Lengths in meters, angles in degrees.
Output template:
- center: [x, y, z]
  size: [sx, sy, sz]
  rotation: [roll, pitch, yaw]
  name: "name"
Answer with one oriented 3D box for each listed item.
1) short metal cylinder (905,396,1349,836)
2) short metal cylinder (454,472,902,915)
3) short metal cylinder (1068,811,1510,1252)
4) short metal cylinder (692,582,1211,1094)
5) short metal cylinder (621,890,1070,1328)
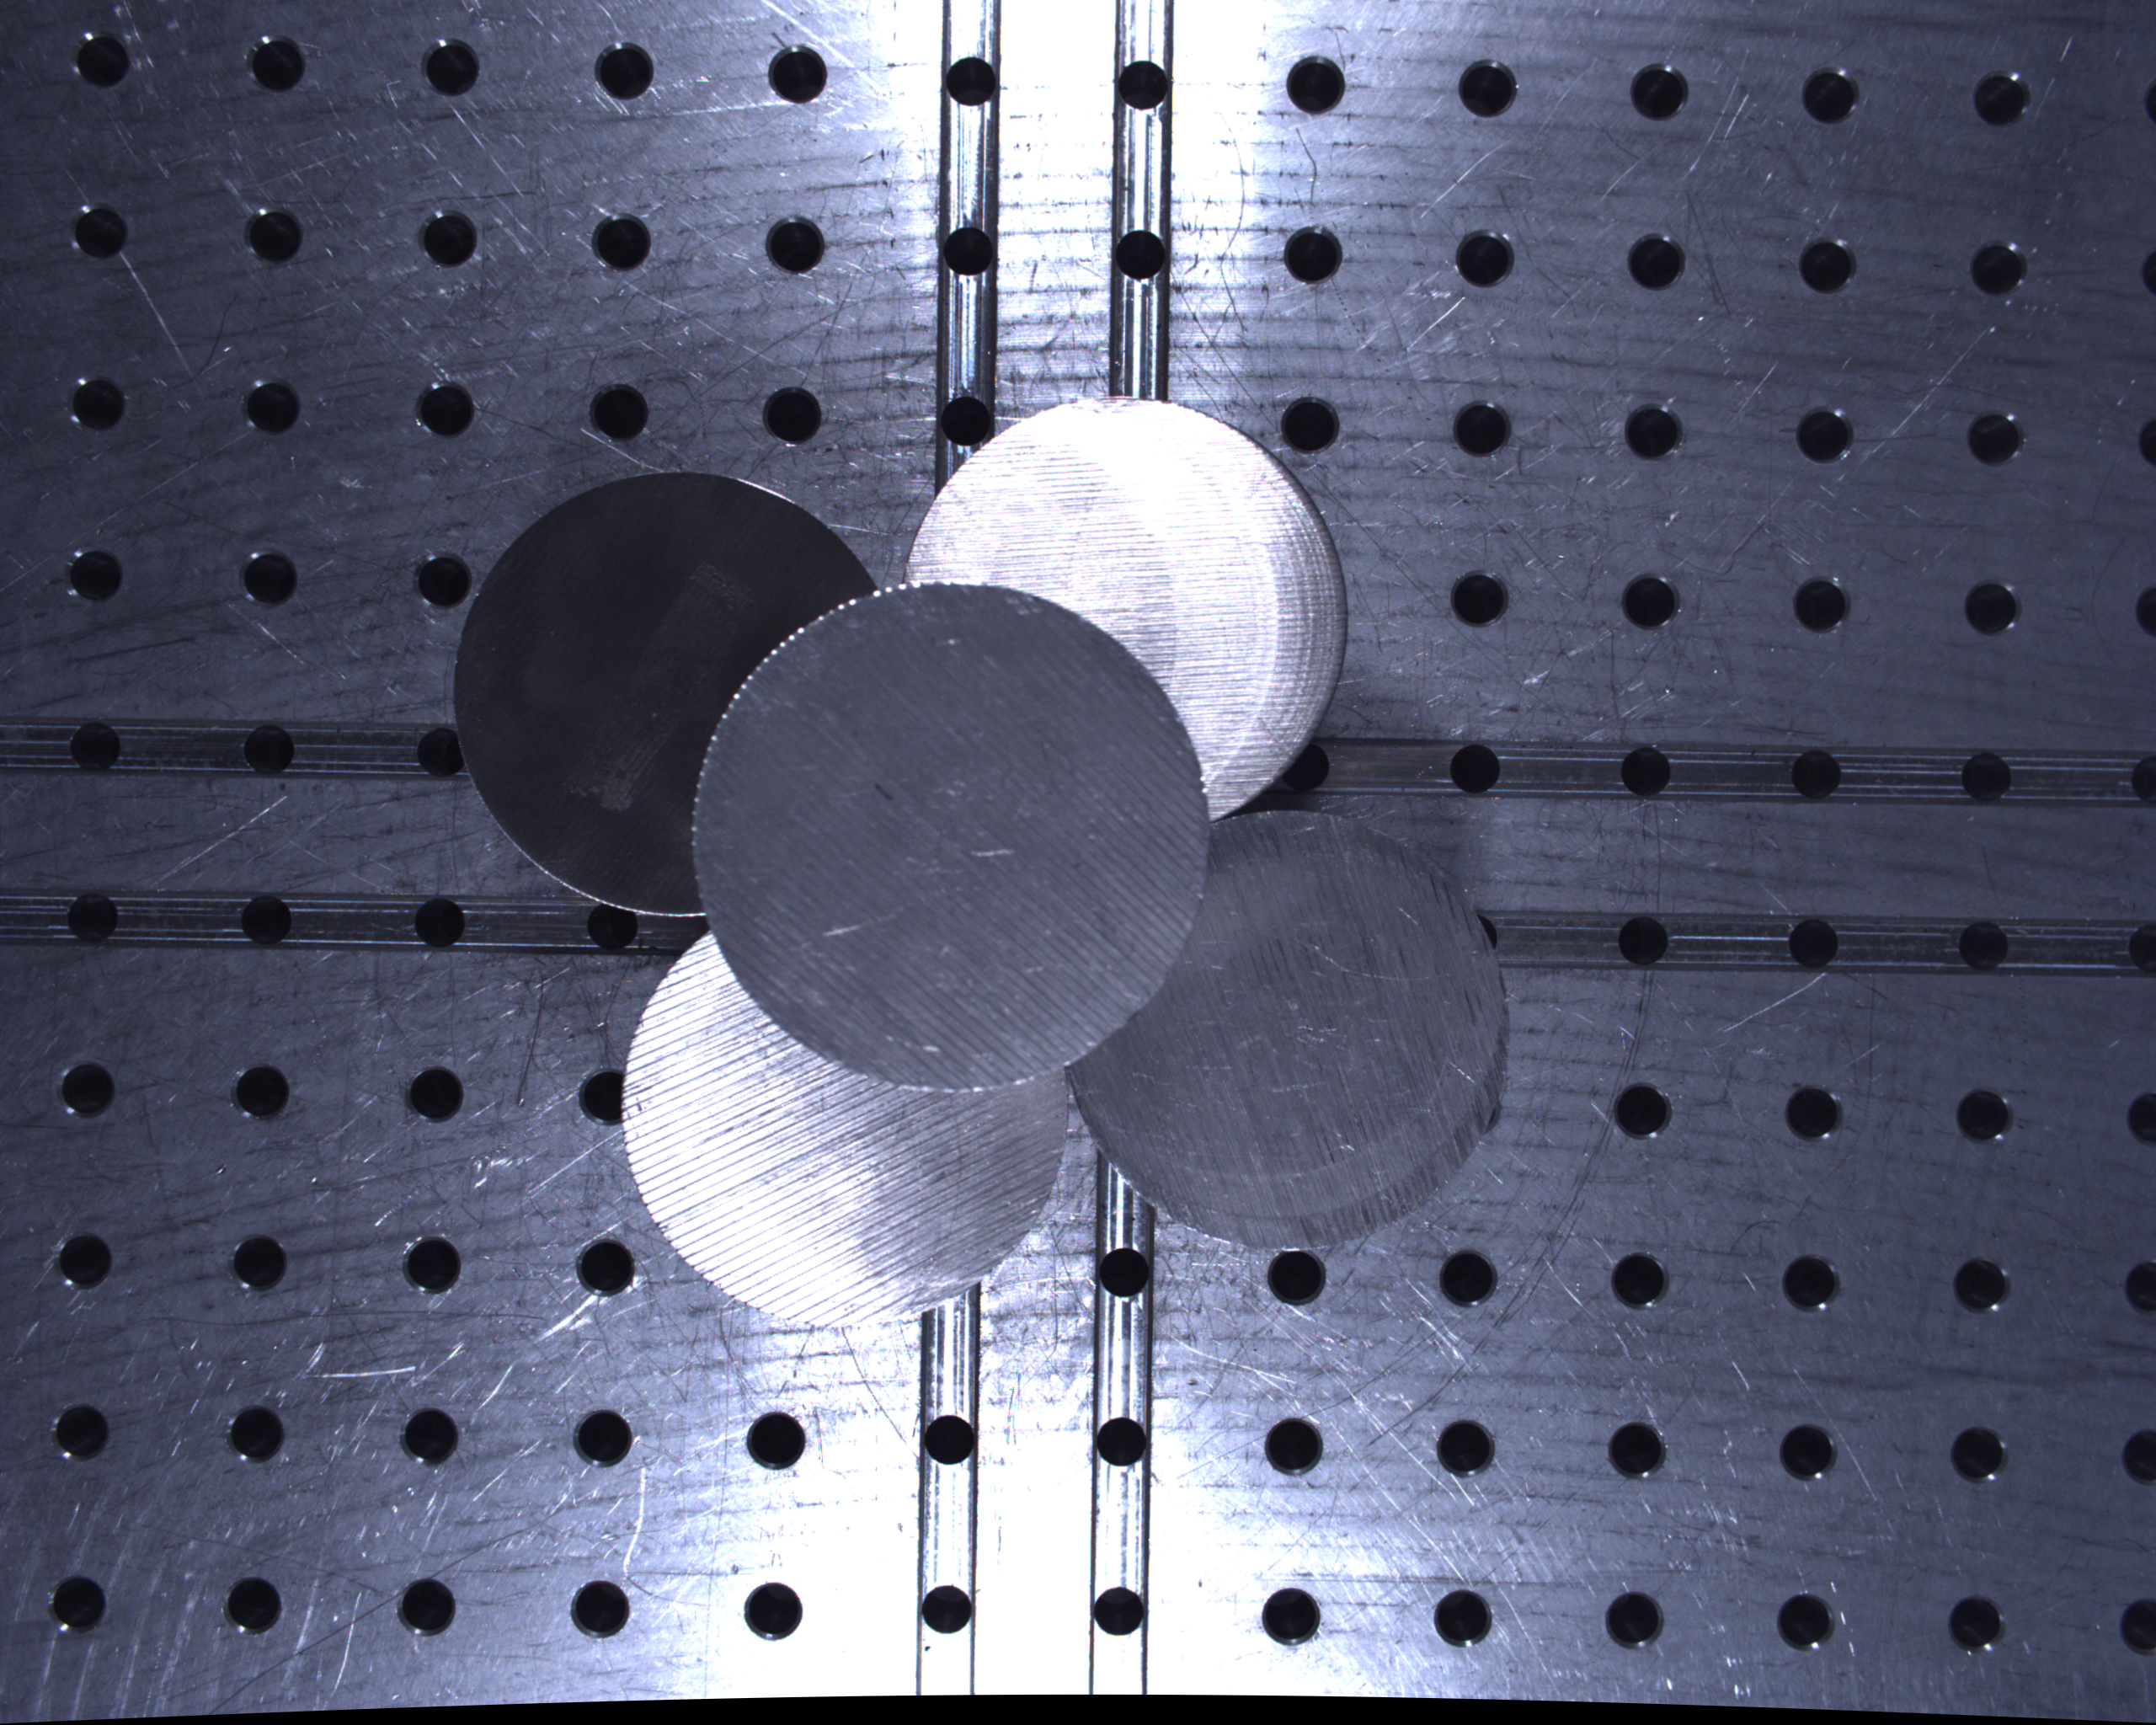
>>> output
- center: [0.008, -0.044, 0.400]
  size: [0.081, 0.050, 0.079]
  rotation: [0, 90, -1]
  name: "short metal cylinder"
- center: [-0.072, -0.030, 0.399]
  size: [0.081, 0.050, 0.079]
  rotation: [0, 90, -1]
  name: "short metal cylinder"
- center: [0.038, 0.030, 0.401]
  size: [0.081, 0.050, 0.079]
  rotation: [0, 90, -1]
  name: "short metal cylinder"
- center: [-0.020, -0.005, 0.349]
  size: [0.081, 0.050, 0.079]
  rotation: [0, 92, -1]
  name: "short metal cylinder"
- center: [-0.042, 0.044, 0.400]
  size: [0.081, 0.050, 0.079]
  rotation: [0, 90, -1]
  name: "short metal cylinder"
